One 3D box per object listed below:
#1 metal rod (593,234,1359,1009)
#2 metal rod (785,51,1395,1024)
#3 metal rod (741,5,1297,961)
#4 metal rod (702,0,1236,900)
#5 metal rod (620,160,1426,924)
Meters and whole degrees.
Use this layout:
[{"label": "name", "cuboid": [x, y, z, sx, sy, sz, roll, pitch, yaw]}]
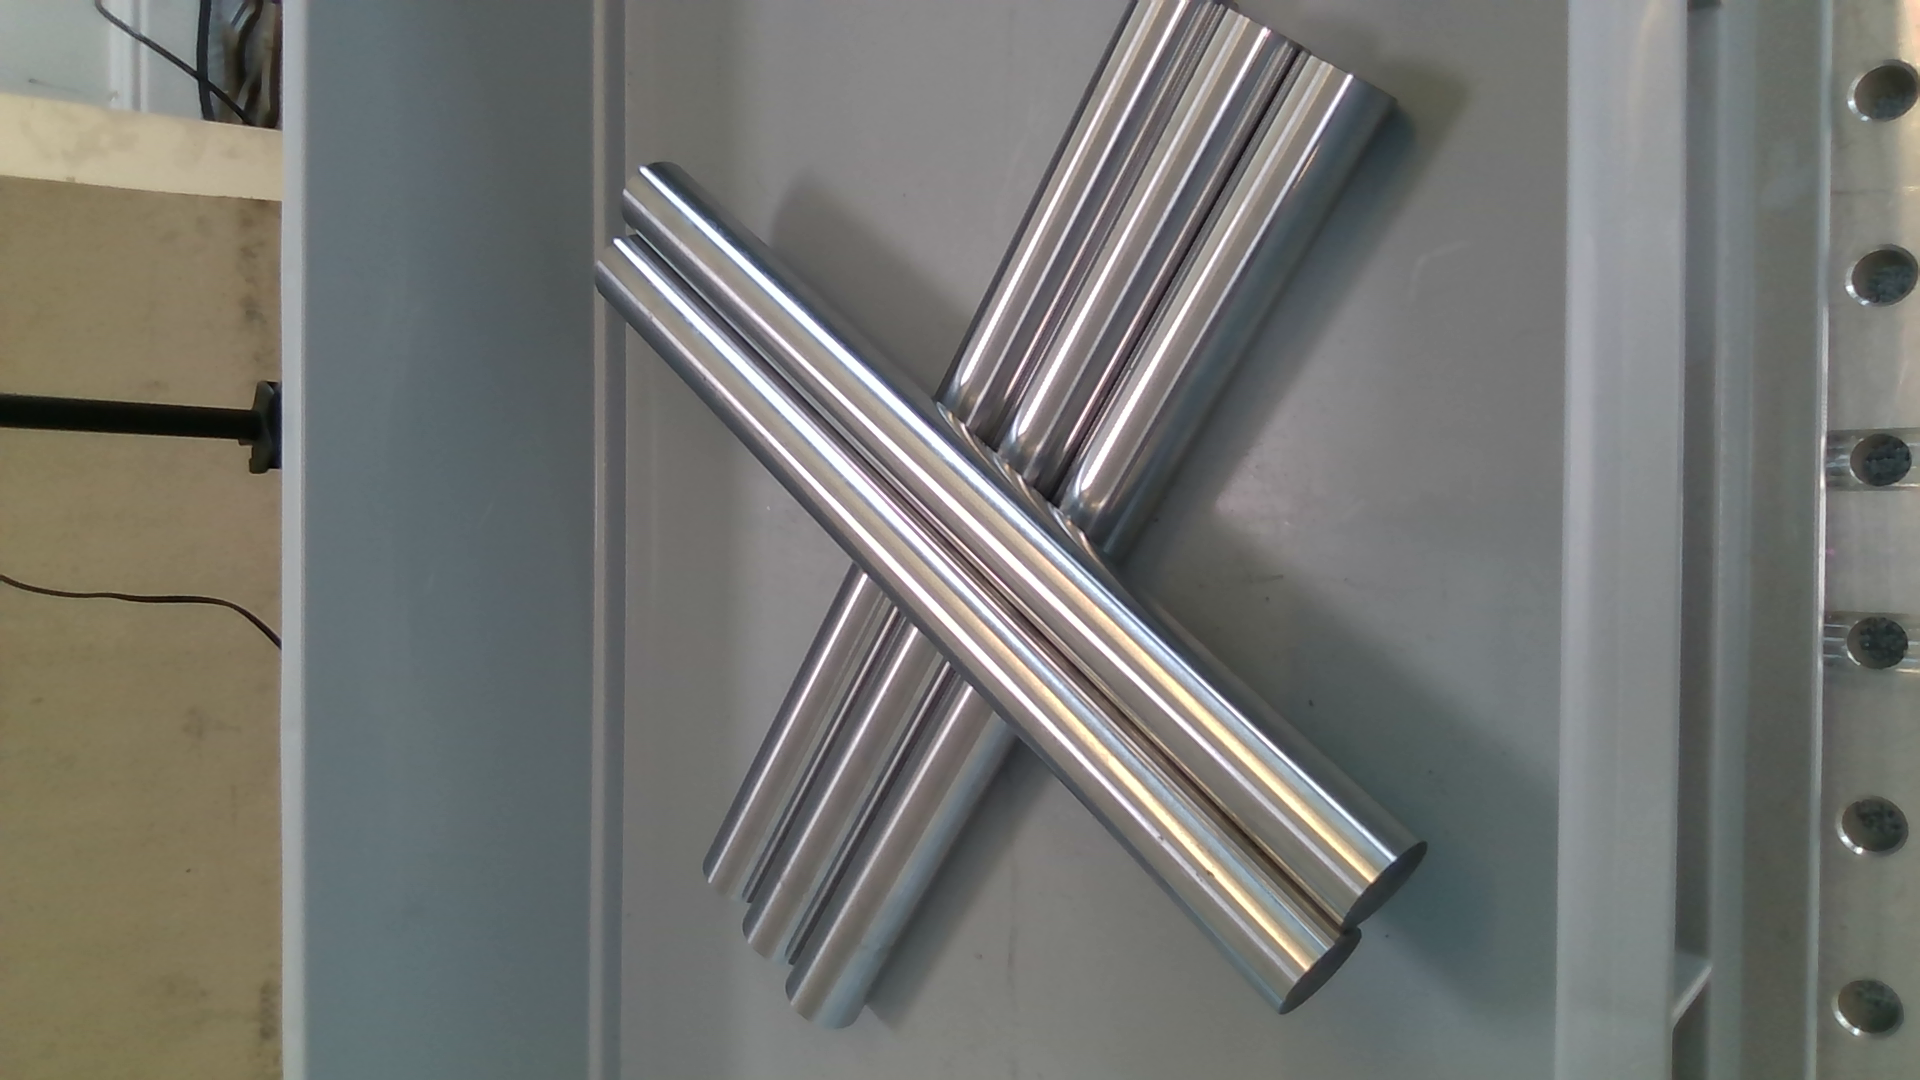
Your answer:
[{"label": "metal rod", "cuboid": [-0.016, 0.001, 0.370, 0.299, 0.025, 0.025, 44, 117, 31]}, {"label": "metal rod", "cuboid": [0.023, 0.017, 0.370, 0.025, 0.025, 0.301, 42, 116, 32]}, {"label": "metal rod", "cuboid": [0.007, 0.002, 0.384, 0.025, 0.025, 0.301, 42, 116, 32]}, {"label": "metal rod", "cuboid": [-0.008, -0.014, 0.396, 0.025, 0.025, 0.301, 42, 116, 32]}, {"label": "metal rod", "cuboid": [-0.005, -0.019, 0.360, 0.299, 0.025, 0.025, 44, 117, 31]}]
